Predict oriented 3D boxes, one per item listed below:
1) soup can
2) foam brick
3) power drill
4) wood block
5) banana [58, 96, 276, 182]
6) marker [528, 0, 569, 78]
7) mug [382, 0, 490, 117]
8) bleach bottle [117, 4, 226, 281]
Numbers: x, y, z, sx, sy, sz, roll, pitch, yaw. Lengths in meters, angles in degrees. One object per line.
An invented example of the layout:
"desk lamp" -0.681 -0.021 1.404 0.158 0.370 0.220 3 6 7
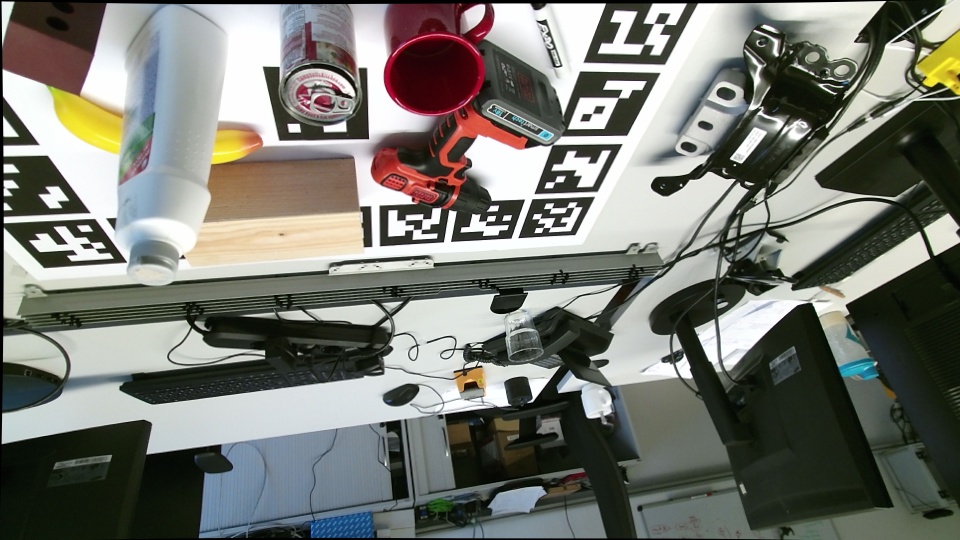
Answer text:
"soup can" -0.143 -0.184 0.478 0.068 0.101 0.068 -8 153 -4
"foam brick" -0.344 -0.193 0.431 0.053 0.077 0.051 16 141 -42
"power drill" -0.018 -0.147 0.647 0.185 0.057 0.187 17 140 -34
"wood block" -0.255 -0.068 0.653 0.207 0.090 0.090 -5 147 -12
"banana" -0.325 -0.128 0.572 0.198 0.038 0.074 6 131 -24
"marker" 0.067 -0.247 0.546 0.020 0.019 0.121 -22 147 12
"mug" -0.040 -0.208 0.505 0.117 0.081 0.093 -33 142 25
"bleach bottle" -0.257 -0.101 0.441 0.068 0.249 0.103 13 142 -37
